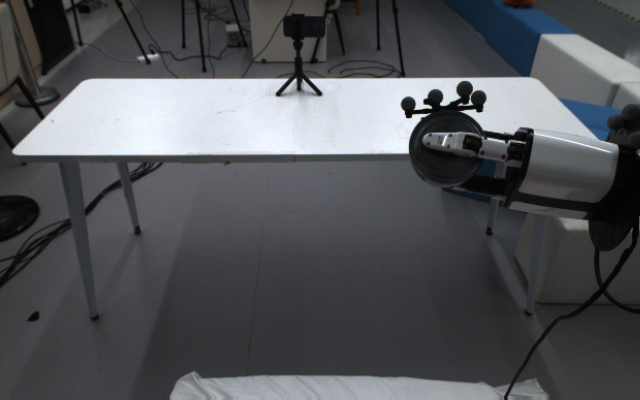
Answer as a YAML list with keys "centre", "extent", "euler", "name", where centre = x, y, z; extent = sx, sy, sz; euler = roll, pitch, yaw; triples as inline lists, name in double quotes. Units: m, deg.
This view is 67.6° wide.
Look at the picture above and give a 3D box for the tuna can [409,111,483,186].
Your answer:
- centre: [0.148, -0.061, 0.558]
  extent: [0.085, 0.085, 0.034]
  euler: [11, -8, 13]
  name: "tuna can"
